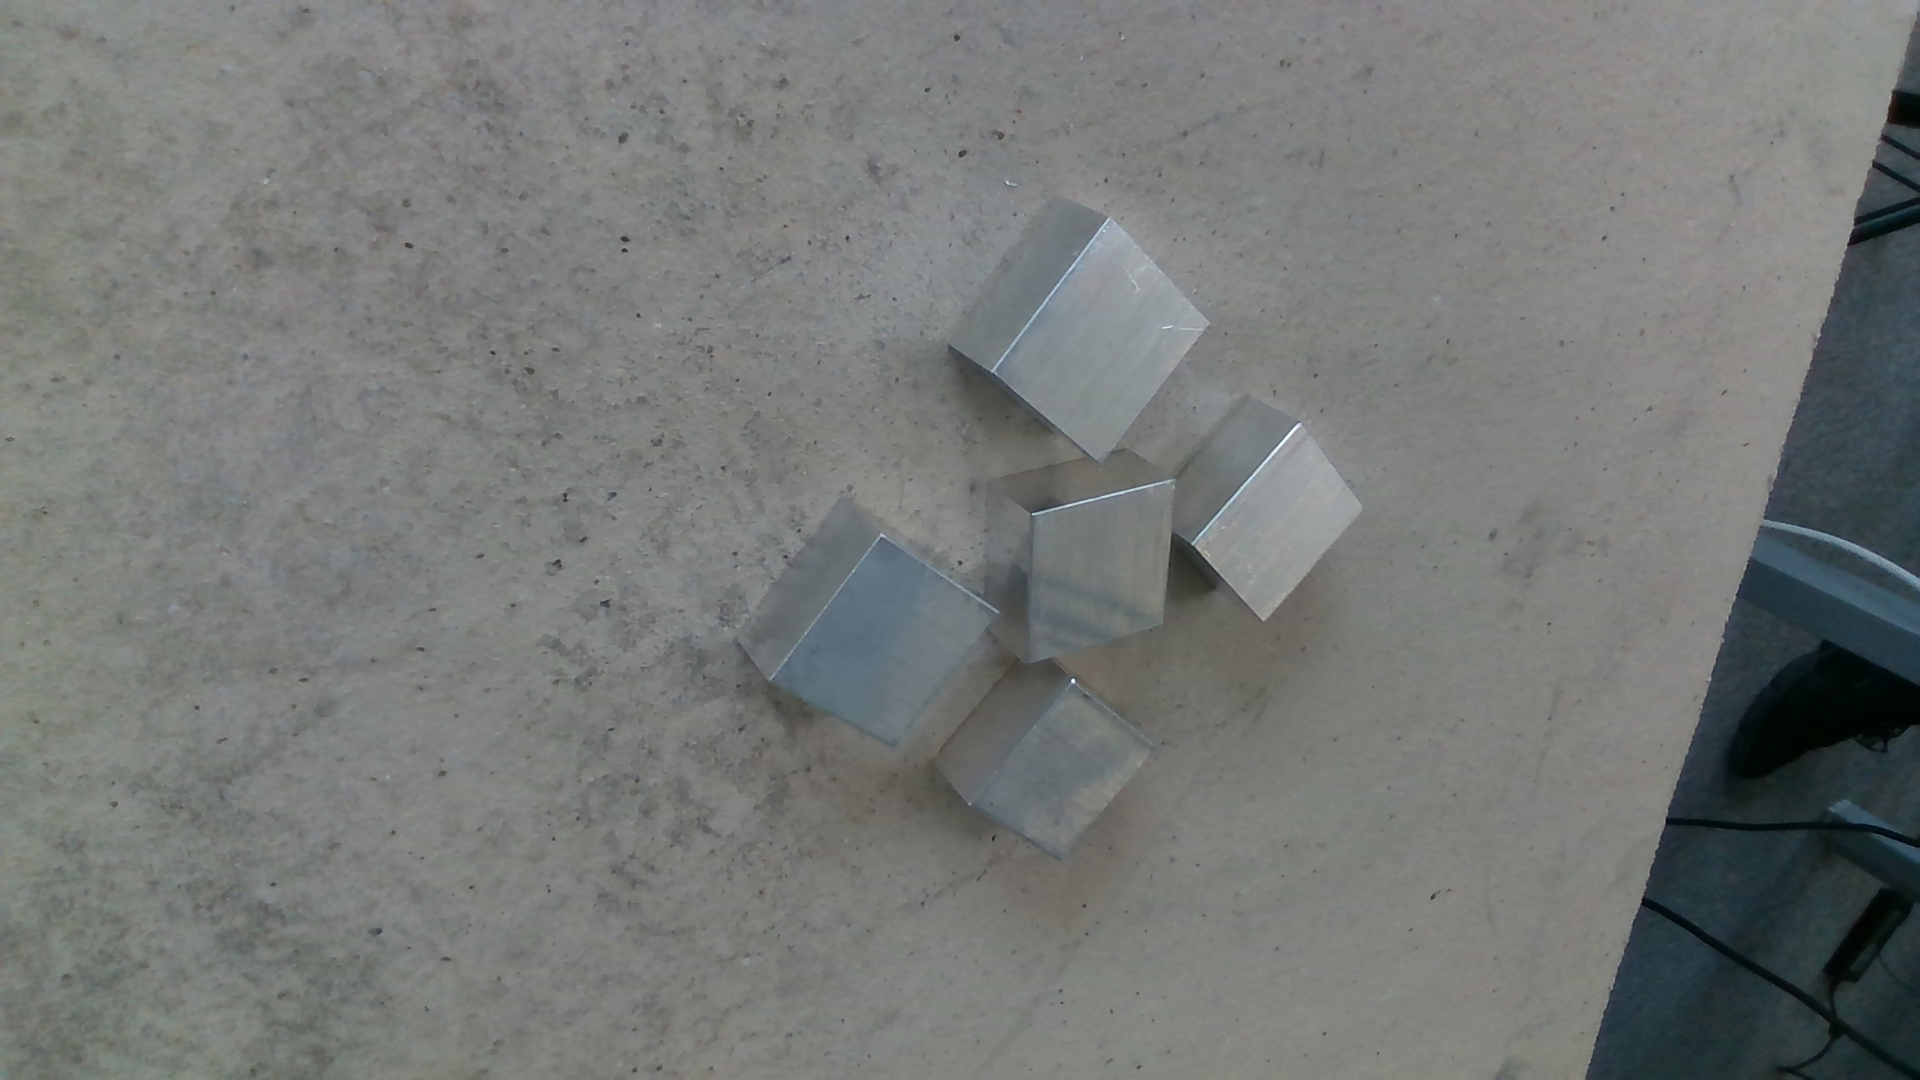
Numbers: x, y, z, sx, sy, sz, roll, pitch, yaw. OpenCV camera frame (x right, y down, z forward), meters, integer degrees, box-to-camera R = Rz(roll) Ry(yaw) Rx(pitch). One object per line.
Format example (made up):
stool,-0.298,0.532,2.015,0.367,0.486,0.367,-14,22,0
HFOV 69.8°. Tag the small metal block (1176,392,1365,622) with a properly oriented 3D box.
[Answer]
small metal block,0.095,-0.010,0.442,0.050,0.025,0.050,-49,130,-1

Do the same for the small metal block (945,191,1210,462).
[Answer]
small metal block,0.033,-0.058,0.379,0.050,0.025,0.050,35,94,-40

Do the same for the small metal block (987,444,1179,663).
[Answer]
small metal block,0.036,0.003,0.413,0.050,0.025,0.050,-14,121,-25

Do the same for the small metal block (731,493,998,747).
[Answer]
small metal block,-0.026,0.023,0.386,0.050,0.025,0.050,35,94,-40

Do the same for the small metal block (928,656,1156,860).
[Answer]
small metal block,0.027,0.068,0.444,0.050,0.025,0.050,-50,129,1
